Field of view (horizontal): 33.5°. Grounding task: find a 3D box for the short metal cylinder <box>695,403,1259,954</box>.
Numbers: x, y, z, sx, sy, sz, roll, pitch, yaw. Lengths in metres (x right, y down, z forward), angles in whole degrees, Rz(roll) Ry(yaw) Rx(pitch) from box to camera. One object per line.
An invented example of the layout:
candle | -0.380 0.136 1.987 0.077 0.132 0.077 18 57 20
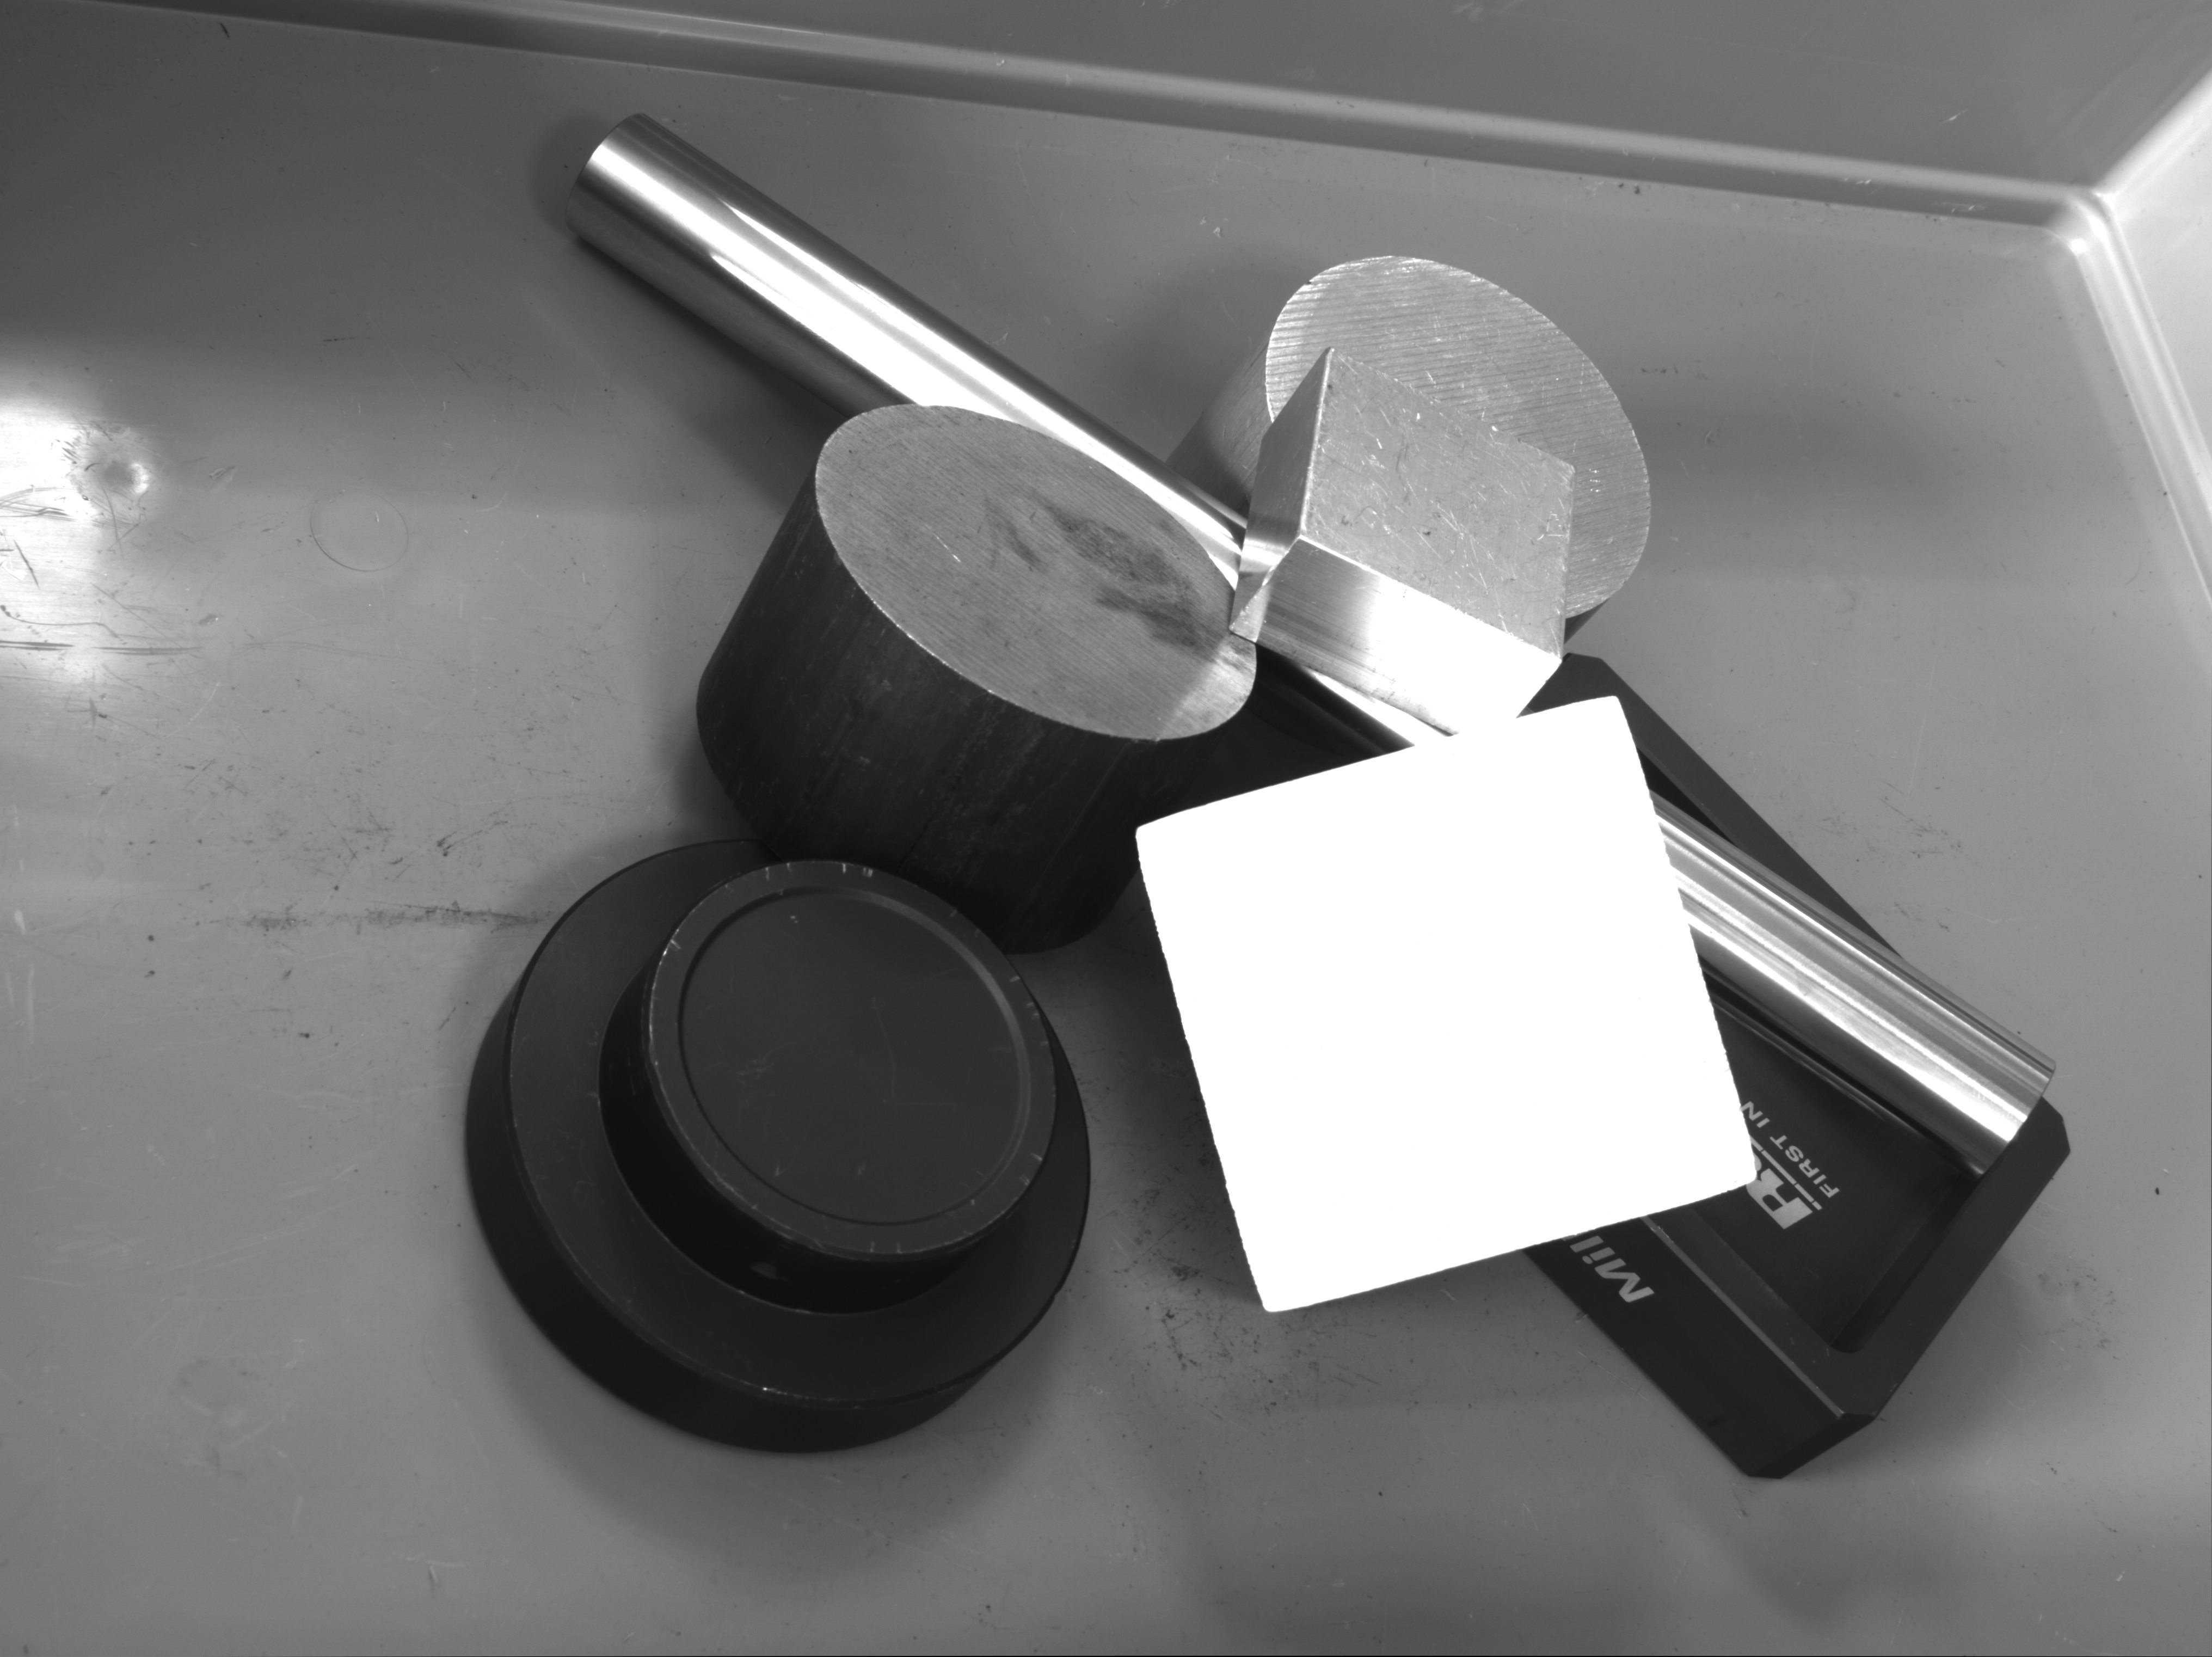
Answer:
short metal cylinder | -0.022 -0.026 0.612 0.080 0.050 0.080 22 35 -16

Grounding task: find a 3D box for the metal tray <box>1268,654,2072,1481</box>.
metal tray | 0.103 0.041 0.664 0.130 0.030 0.090 45 51 3

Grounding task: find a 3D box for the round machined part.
round machined part | -0.046 0.044 0.574 0.098 0.042 0.098 13 56 -21

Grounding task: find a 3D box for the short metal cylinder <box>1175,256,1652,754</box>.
short metal cylinder | 0.055 -0.060 0.688 0.080 0.050 0.080 13 56 -21

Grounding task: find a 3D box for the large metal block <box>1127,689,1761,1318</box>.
large metal block | 0.054 0.030 0.599 0.080 0.050 0.080 -16 82 2

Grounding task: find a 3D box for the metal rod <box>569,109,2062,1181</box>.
metal rod | 0.033 -0.035 0.645 0.300 0.025 0.025 35 51 7

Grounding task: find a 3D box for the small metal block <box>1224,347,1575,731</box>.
small metal block | 0.051 -0.048 0.626 0.050 0.025 0.050 24 45 -13
